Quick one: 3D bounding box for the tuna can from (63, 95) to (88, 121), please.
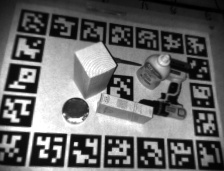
[{"bbox_3d":[-0.119,0.074,0.719,0.086,0.033,0.085,4,73,-12],"label":"tuna can"}]

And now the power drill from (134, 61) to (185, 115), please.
[{"bbox_3d":[0.187,0.002,0.800,0.185,0.057,0.187,17,77,-6],"label":"power drill"}]

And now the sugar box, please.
[{"bbox_3d":[0.049,0.070,0.731,0.177,0.092,0.045,16,67,-9],"label":"sugar box"}]

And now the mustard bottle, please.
[{"bbox_3d":[0.152,-0.067,0.752,0.059,0.191,0.096,-37,83,-18],"label":"mustard bottle"}]

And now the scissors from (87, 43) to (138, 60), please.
[{"bbox_3d":[0.002,-0.111,0.817,0.204,0.016,0.087,6,68,-10],"label":"scissors"}]

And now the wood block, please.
[{"bbox_3d":[-0.064,-0.048,0.692,0.091,0.206,0.089,-25,80,-17],"label":"wood block"}]
